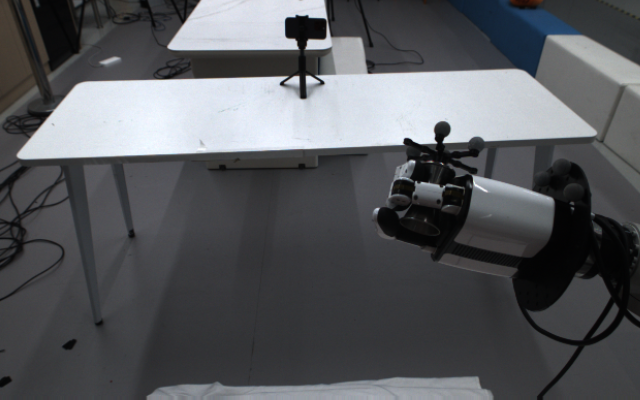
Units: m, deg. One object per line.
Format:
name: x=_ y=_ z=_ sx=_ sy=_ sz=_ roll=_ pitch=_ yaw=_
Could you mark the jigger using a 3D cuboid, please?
jigger: x=0.116 y=-0.004 z=0.511 sx=0.043 sy=0.043 sz=0.071 roll=15 pitch=70 yaw=18
